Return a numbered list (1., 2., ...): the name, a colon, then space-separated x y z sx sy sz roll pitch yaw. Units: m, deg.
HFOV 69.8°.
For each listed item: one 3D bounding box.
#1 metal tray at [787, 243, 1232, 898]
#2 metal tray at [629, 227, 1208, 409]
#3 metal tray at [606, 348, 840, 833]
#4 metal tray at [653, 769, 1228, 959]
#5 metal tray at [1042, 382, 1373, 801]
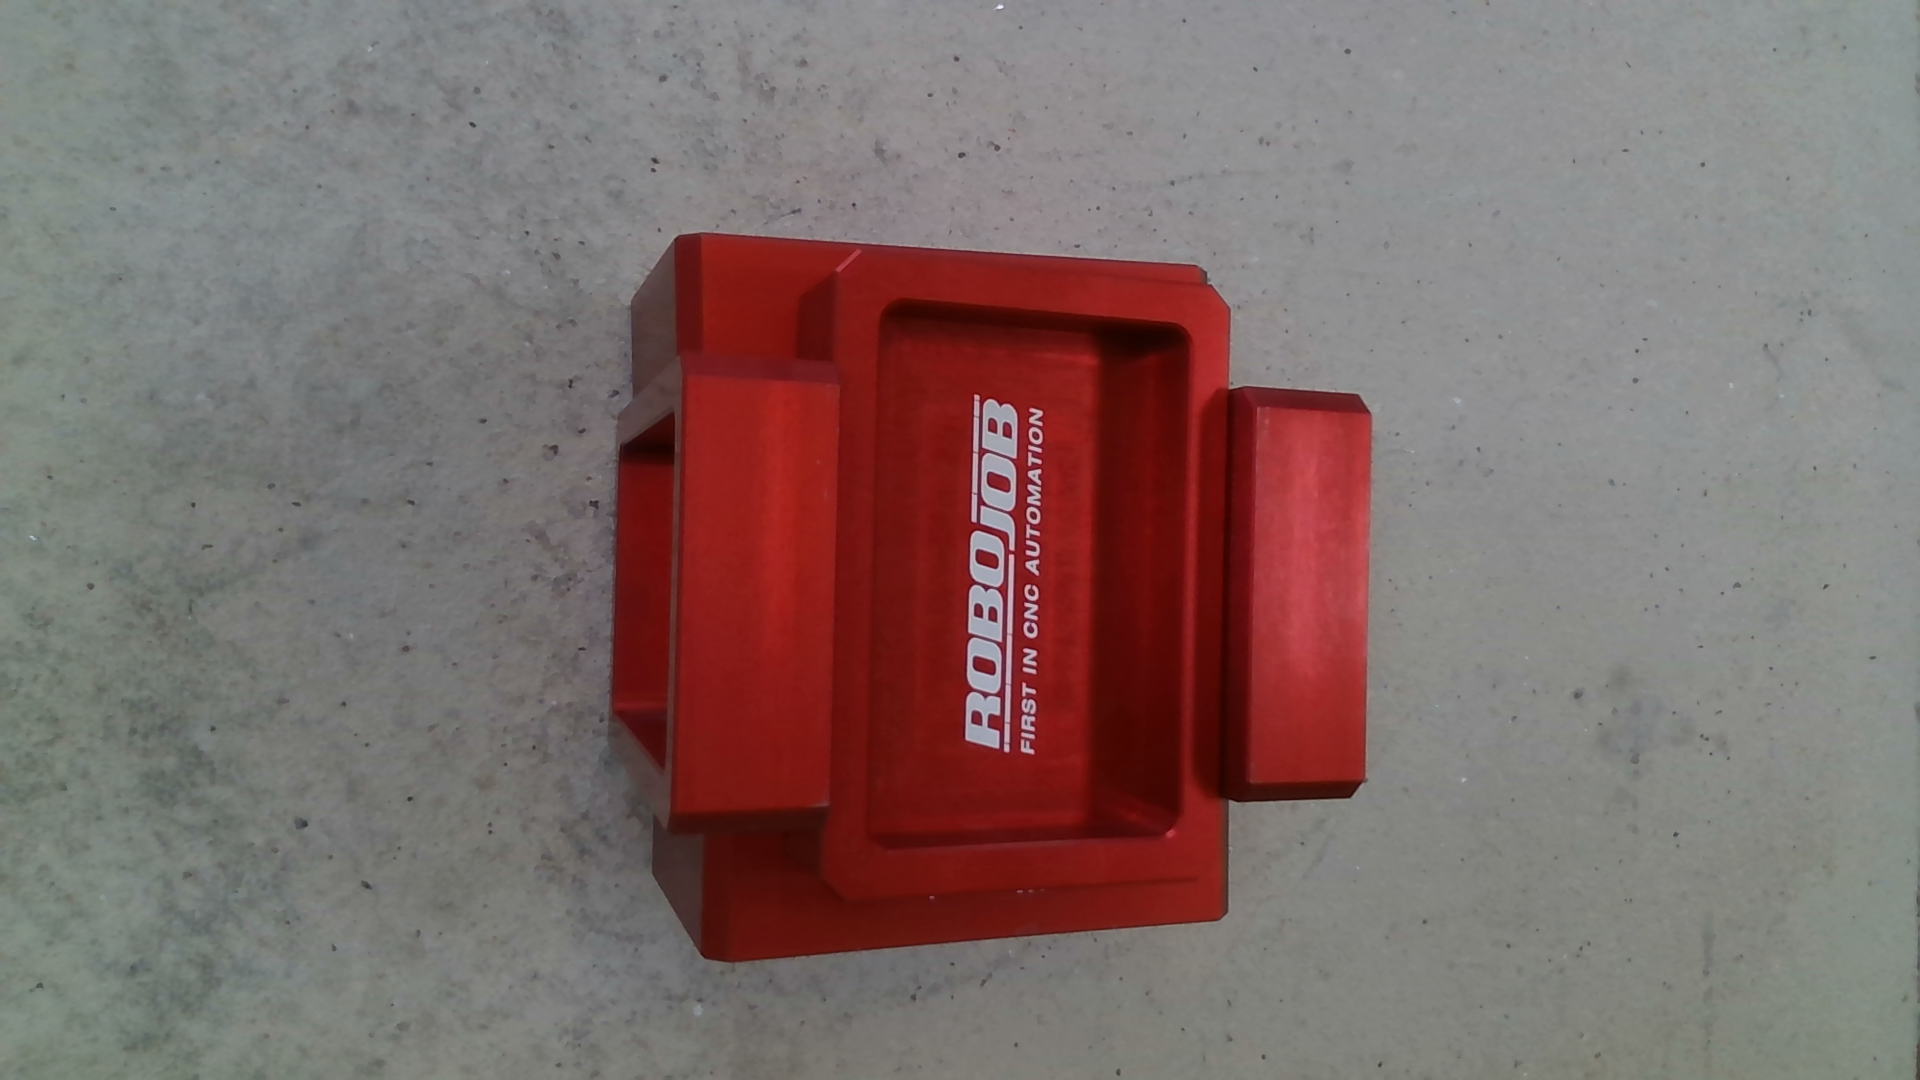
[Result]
1. metal tray: 0.011 0.007 0.300 0.090 0.030 0.130 2 90 -20
2. metal tray: -0.014 -0.052 0.354 0.130 0.090 0.030 -1 90 -20
3. metal tray: -0.059 0.010 0.316 0.030 0.130 0.090 1 89 -20
4. metal tray: -0.008 0.076 0.356 0.130 0.090 0.030 2 89 -21
5. metal tray: 0.053 0.011 0.357 0.030 0.130 0.090 2 90 -20
